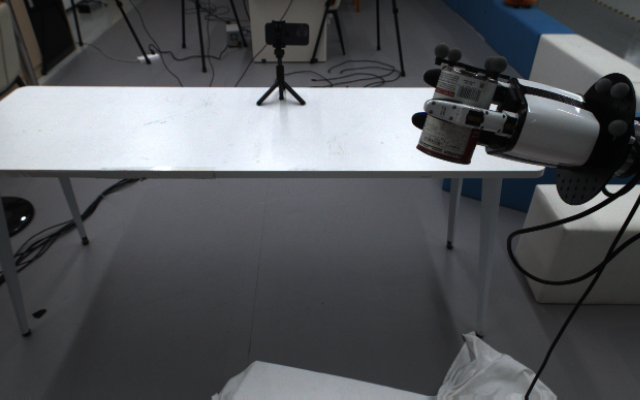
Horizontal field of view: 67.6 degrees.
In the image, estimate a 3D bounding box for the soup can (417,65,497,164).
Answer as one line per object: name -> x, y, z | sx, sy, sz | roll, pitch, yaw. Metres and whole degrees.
soup can -> 0.165, -0.102, 0.581 | 0.067, 0.101, 0.067 | 13, 18, -4
